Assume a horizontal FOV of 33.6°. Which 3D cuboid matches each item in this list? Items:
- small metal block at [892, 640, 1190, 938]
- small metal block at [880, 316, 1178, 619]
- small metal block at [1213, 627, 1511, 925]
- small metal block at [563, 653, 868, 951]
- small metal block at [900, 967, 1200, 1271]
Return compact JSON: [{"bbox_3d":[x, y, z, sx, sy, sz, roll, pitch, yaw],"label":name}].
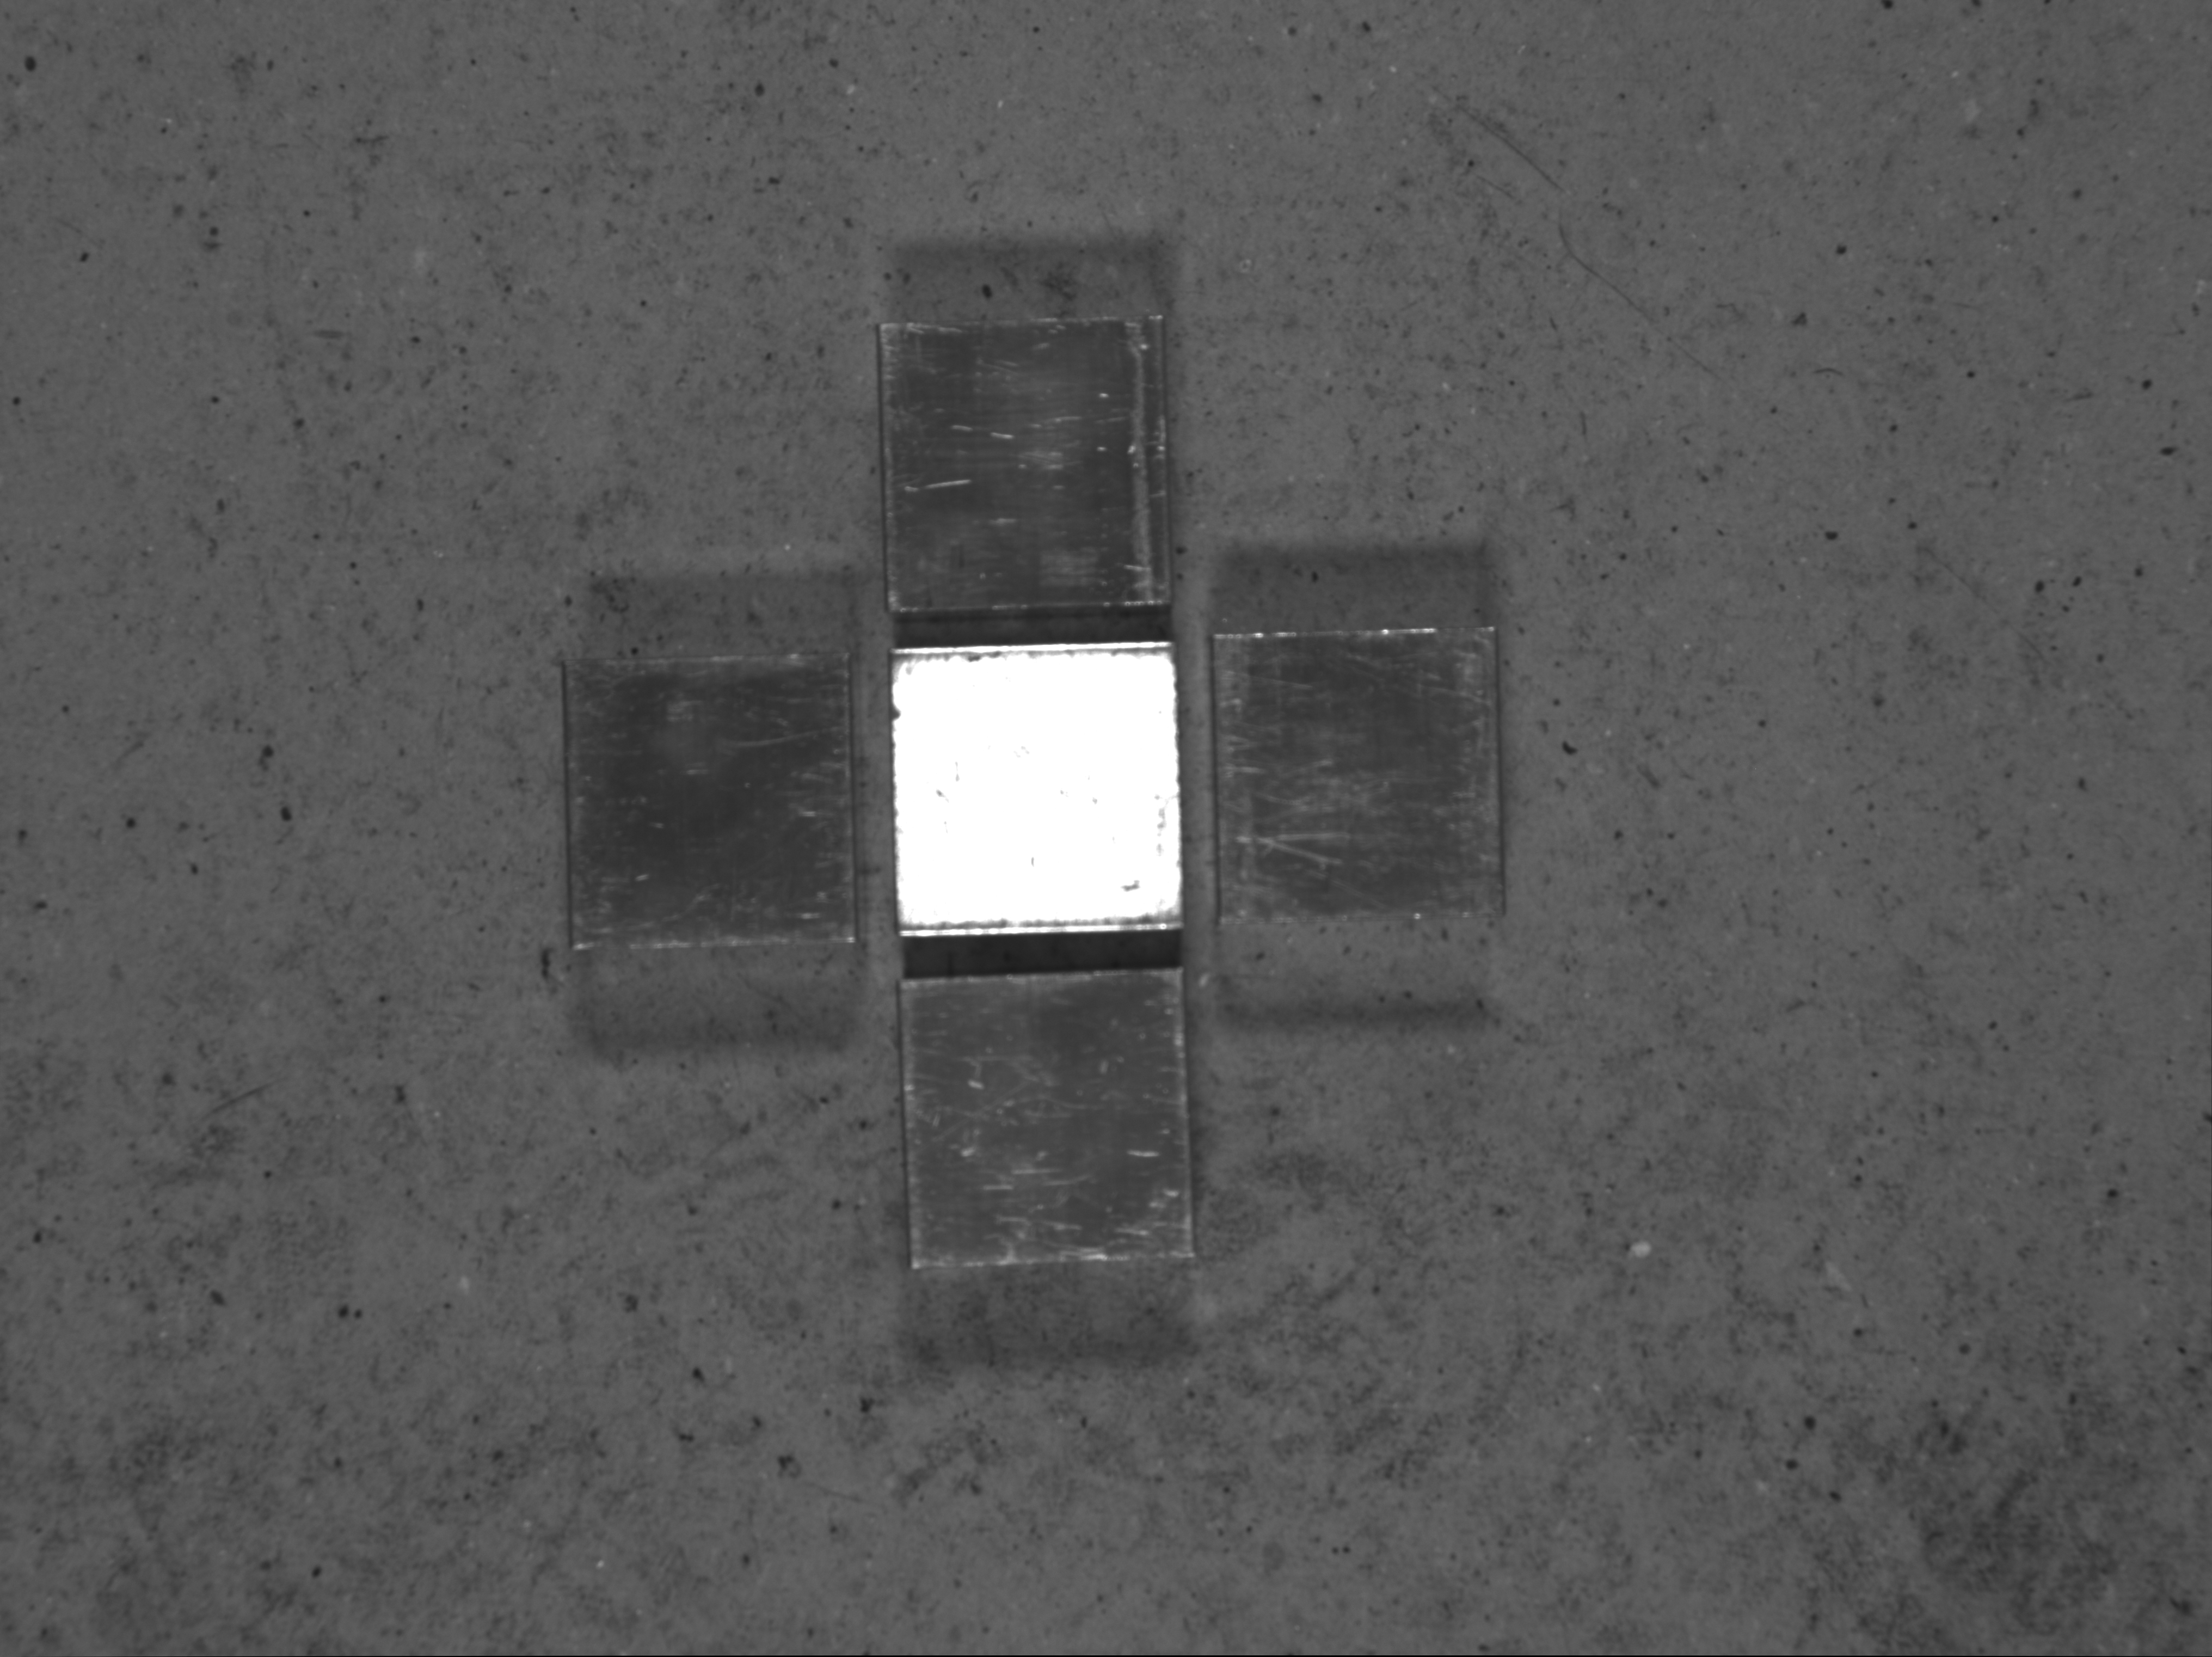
[{"bbox_3d":[-0.011,-0.007,0.645,0.050,0.025,0.050,-2,90,0],"label":"small metal block"},{"bbox_3d":[-0.013,-0.063,0.645,0.050,0.025,0.050,-2,90,0],"label":"small metal block"},{"bbox_3d":[0.044,-0.009,0.646,0.050,0.025,0.050,-2,90,0],"label":"small metal block"},{"bbox_3d":[-0.068,-0.005,0.645,0.050,0.025,0.050,-2,90,0],"label":"small metal block"},{"bbox_3d":[-0.010,0.050,0.645,0.050,0.025,0.050,-2,90,0],"label":"small metal block"}]
